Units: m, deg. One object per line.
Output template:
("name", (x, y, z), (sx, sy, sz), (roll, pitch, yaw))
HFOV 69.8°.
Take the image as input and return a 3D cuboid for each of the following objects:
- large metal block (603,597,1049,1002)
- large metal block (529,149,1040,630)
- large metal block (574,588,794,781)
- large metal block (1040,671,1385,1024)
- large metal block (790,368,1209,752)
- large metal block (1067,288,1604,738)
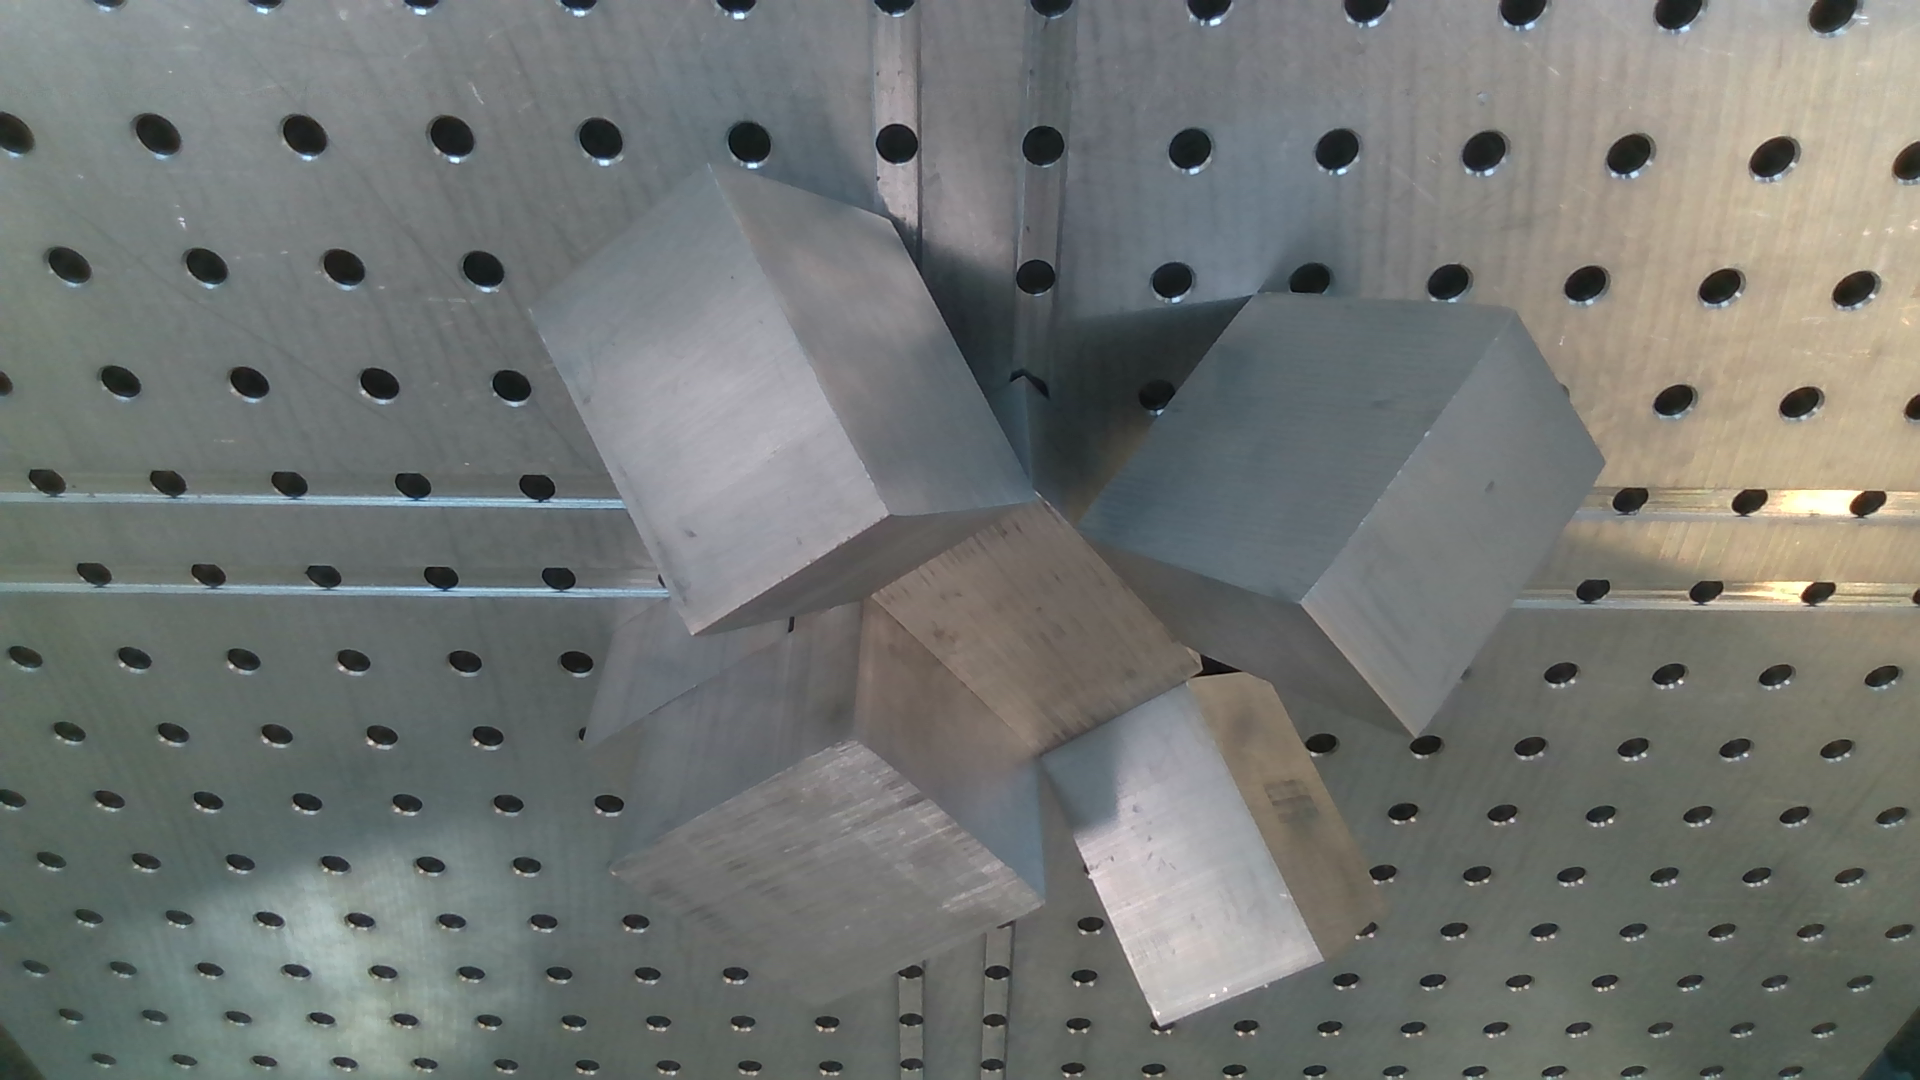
("large metal block", (-0.033, 0.071, 0.368), (0.080, 0.050, 0.080), (-30, 125, 23))
("large metal block", (-0.035, -0.032, 0.308), (0.050, 0.080, 0.080), (-31, 82, 23))
("large metal block", (-0.054, 0.051, 0.416), (0.080, 0.050, 0.080), (-30, 125, 22))
("large metal block", (0.076, 0.086, 0.407), (0.050, 0.080, 0.080), (-31, 163, 23))
("large metal block", (0.011, 0.013, 0.386), (0.080, 0.050, 0.080), (-31, 123, 23))
("large metal block", (0.086, -0.011, 0.326), (0.080, 0.080, 0.050), (-51, 121, -10))
